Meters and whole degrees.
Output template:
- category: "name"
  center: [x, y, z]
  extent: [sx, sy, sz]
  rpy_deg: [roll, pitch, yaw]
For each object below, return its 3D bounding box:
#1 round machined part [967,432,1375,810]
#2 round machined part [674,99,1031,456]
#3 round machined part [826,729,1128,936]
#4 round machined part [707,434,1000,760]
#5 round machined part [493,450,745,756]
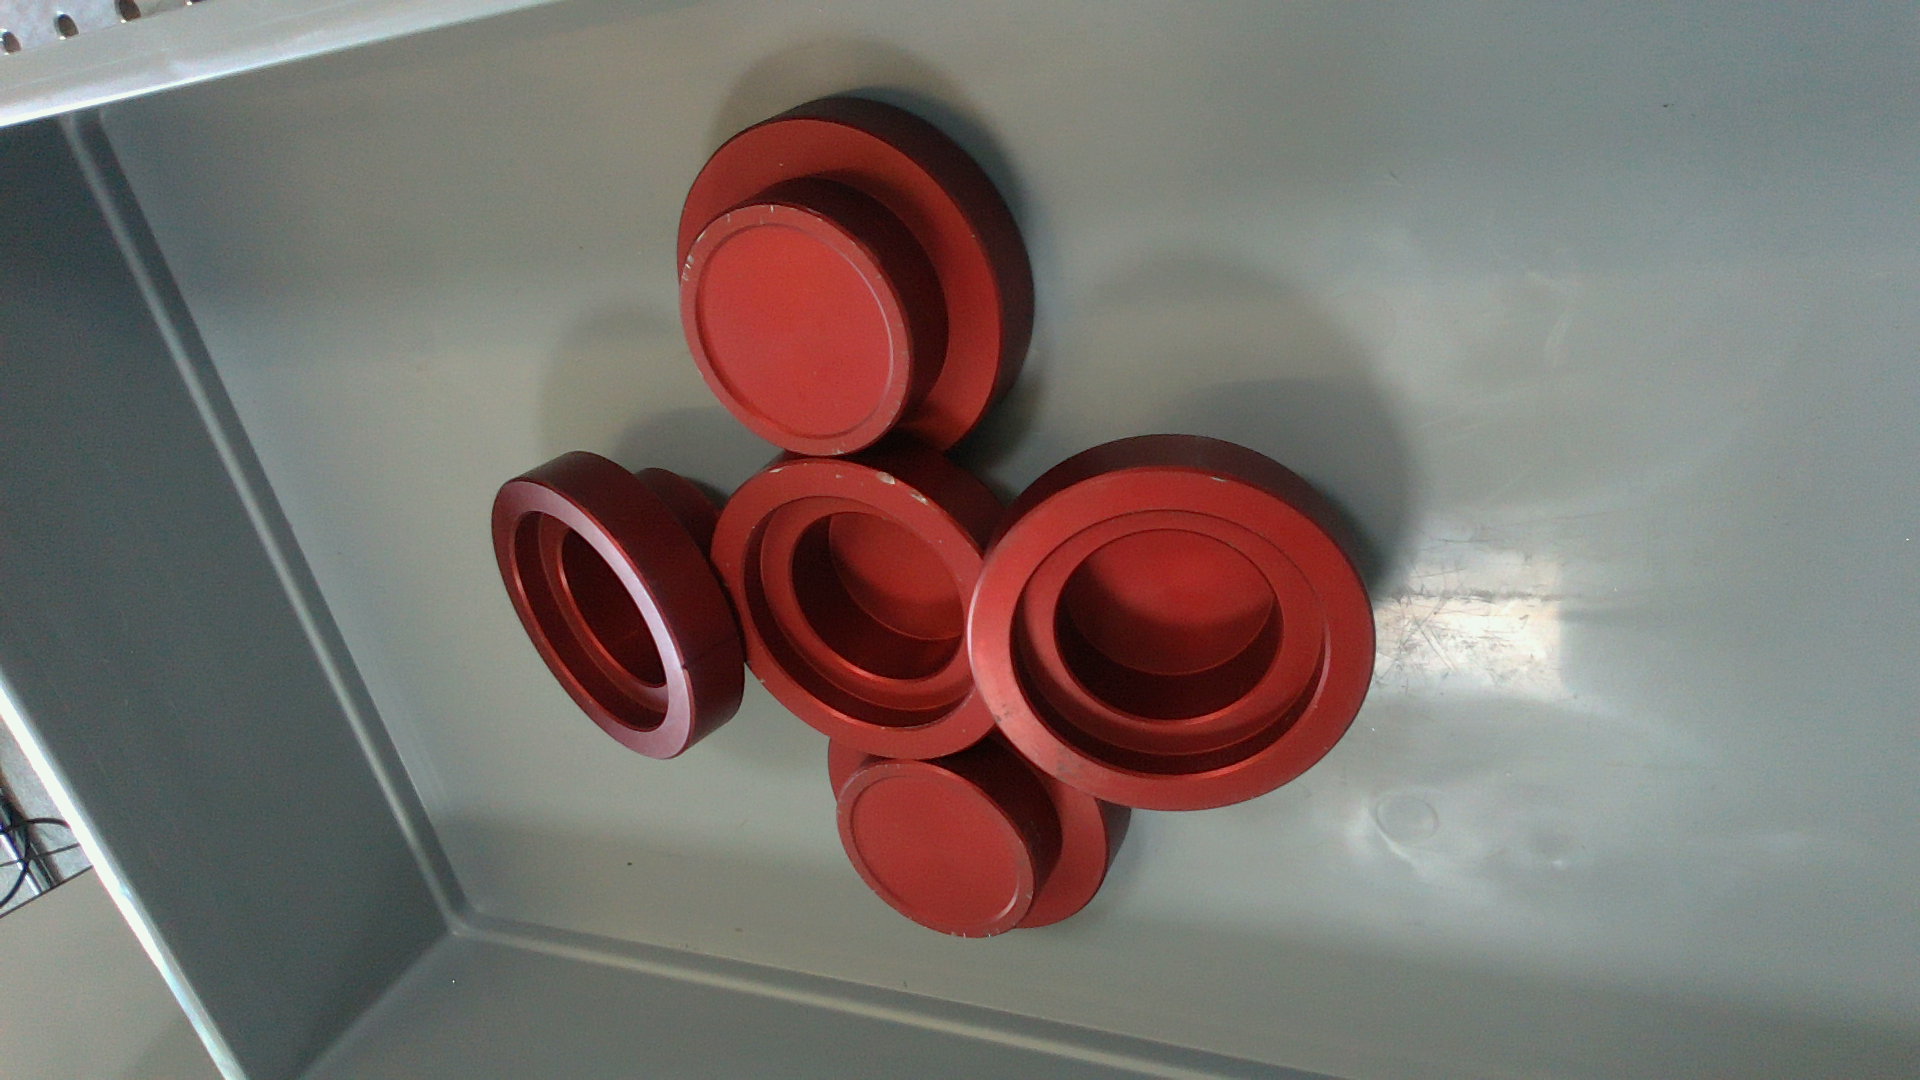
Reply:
- category: "round machined part"
  center: [0.053, 0.017, 0.352]
  extent: [0.098, 0.042, 0.098]
  rpy_deg: [4, 118, 8]
- category: "round machined part"
  center: [-0.034, -0.061, 0.361]
  extent: [0.098, 0.042, 0.098]
  rpy_deg: [13, 124, 21]
- category: "round machined part"
  center: [0.000, 0.085, 0.433]
  extent: [0.098, 0.042, 0.098]
  rpy_deg: [13, 124, 21]
- category: "round machined part"
  center: [-0.020, 0.012, 0.398]
  extent: [0.098, 0.042, 0.098]
  rpy_deg: [13, 124, 21]
- category: "round machined part"
  center: [-0.100, 0.016, 0.433]
  extent: [0.098, 0.042, 0.098]
  rpy_deg: [28, 135, 32]
